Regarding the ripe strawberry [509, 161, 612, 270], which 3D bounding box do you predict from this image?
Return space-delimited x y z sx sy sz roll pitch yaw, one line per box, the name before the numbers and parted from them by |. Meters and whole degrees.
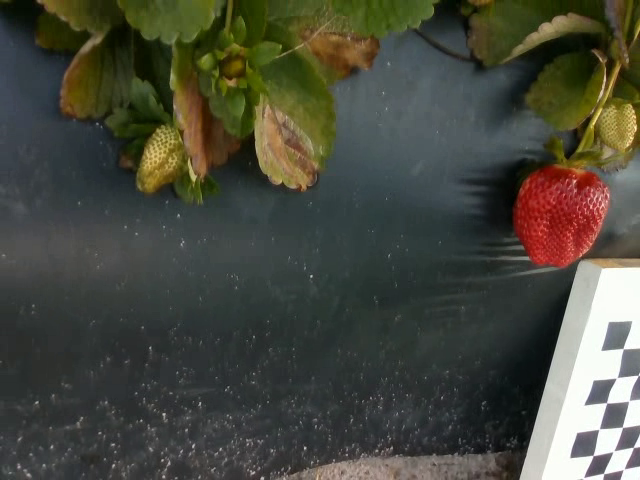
ripe strawberry | 0.159 -0.016 0.380 0.067 0.075 0.039 6 13 -20
